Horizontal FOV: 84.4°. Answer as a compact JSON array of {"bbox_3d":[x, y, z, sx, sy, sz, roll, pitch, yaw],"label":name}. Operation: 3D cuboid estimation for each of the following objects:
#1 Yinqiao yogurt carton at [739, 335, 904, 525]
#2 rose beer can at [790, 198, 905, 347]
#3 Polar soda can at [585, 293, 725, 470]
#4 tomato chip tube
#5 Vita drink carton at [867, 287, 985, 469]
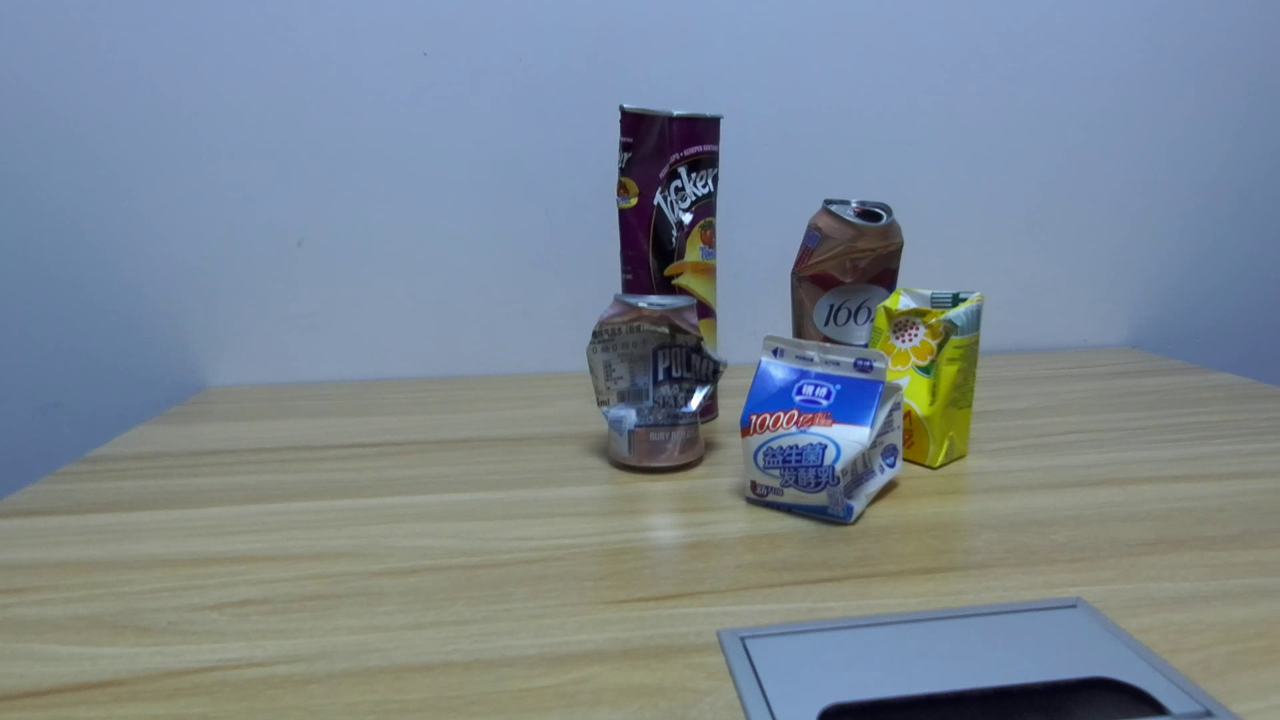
[{"bbox_3d":[0.102,0.034,0.396,0.074,0.097,0.080,7,24,31],"label":"Yinqiao yogurt carton"},{"bbox_3d":[0.161,-0.040,0.558,0.069,0.168,0.069,11,20,28],"label":"rose beer can"},{"bbox_3d":[0.012,0.013,0.460,0.070,0.114,0.074,19,27,42],"label":"Polar soda can"},{"bbox_3d":[0.024,-0.069,0.542,0.090,0.235,0.078,-1,15,-7],"label":"tomato chip tube"},{"bbox_3d":[0.184,0.009,0.473,0.047,0.109,0.071,-8,14,-37],"label":"Vita drink carton"}]
